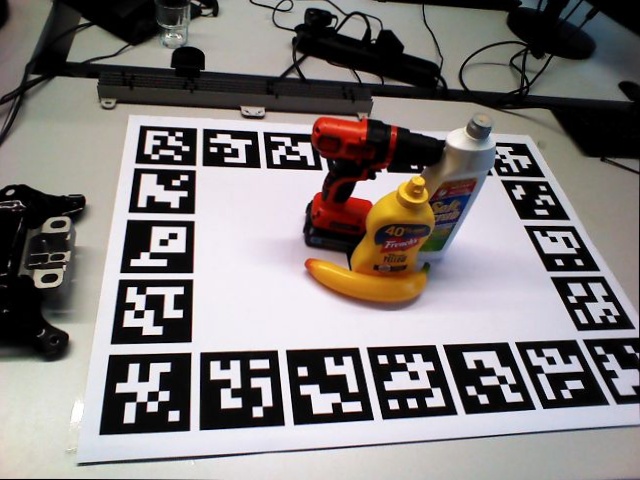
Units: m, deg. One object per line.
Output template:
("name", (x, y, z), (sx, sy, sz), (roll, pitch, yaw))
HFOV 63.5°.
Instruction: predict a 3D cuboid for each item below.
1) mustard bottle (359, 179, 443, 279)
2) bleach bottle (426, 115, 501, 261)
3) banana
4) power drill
("mustard bottle", (0.121, -0.017, 0.718), (0.096, 0.192, 0.058), (2, 51, -12))
("bleach bottle", (0.188, -0.076, 0.749), (0.102, 0.252, 0.067), (3, 45, -9))
("banana", (0.091, 0.059, 0.762), (0.197, 0.039, 0.074), (3, 52, -6))
("power drill", (0.077, -0.086, 0.738), (0.185, 0.188, 0.057), (11, 49, -5))
